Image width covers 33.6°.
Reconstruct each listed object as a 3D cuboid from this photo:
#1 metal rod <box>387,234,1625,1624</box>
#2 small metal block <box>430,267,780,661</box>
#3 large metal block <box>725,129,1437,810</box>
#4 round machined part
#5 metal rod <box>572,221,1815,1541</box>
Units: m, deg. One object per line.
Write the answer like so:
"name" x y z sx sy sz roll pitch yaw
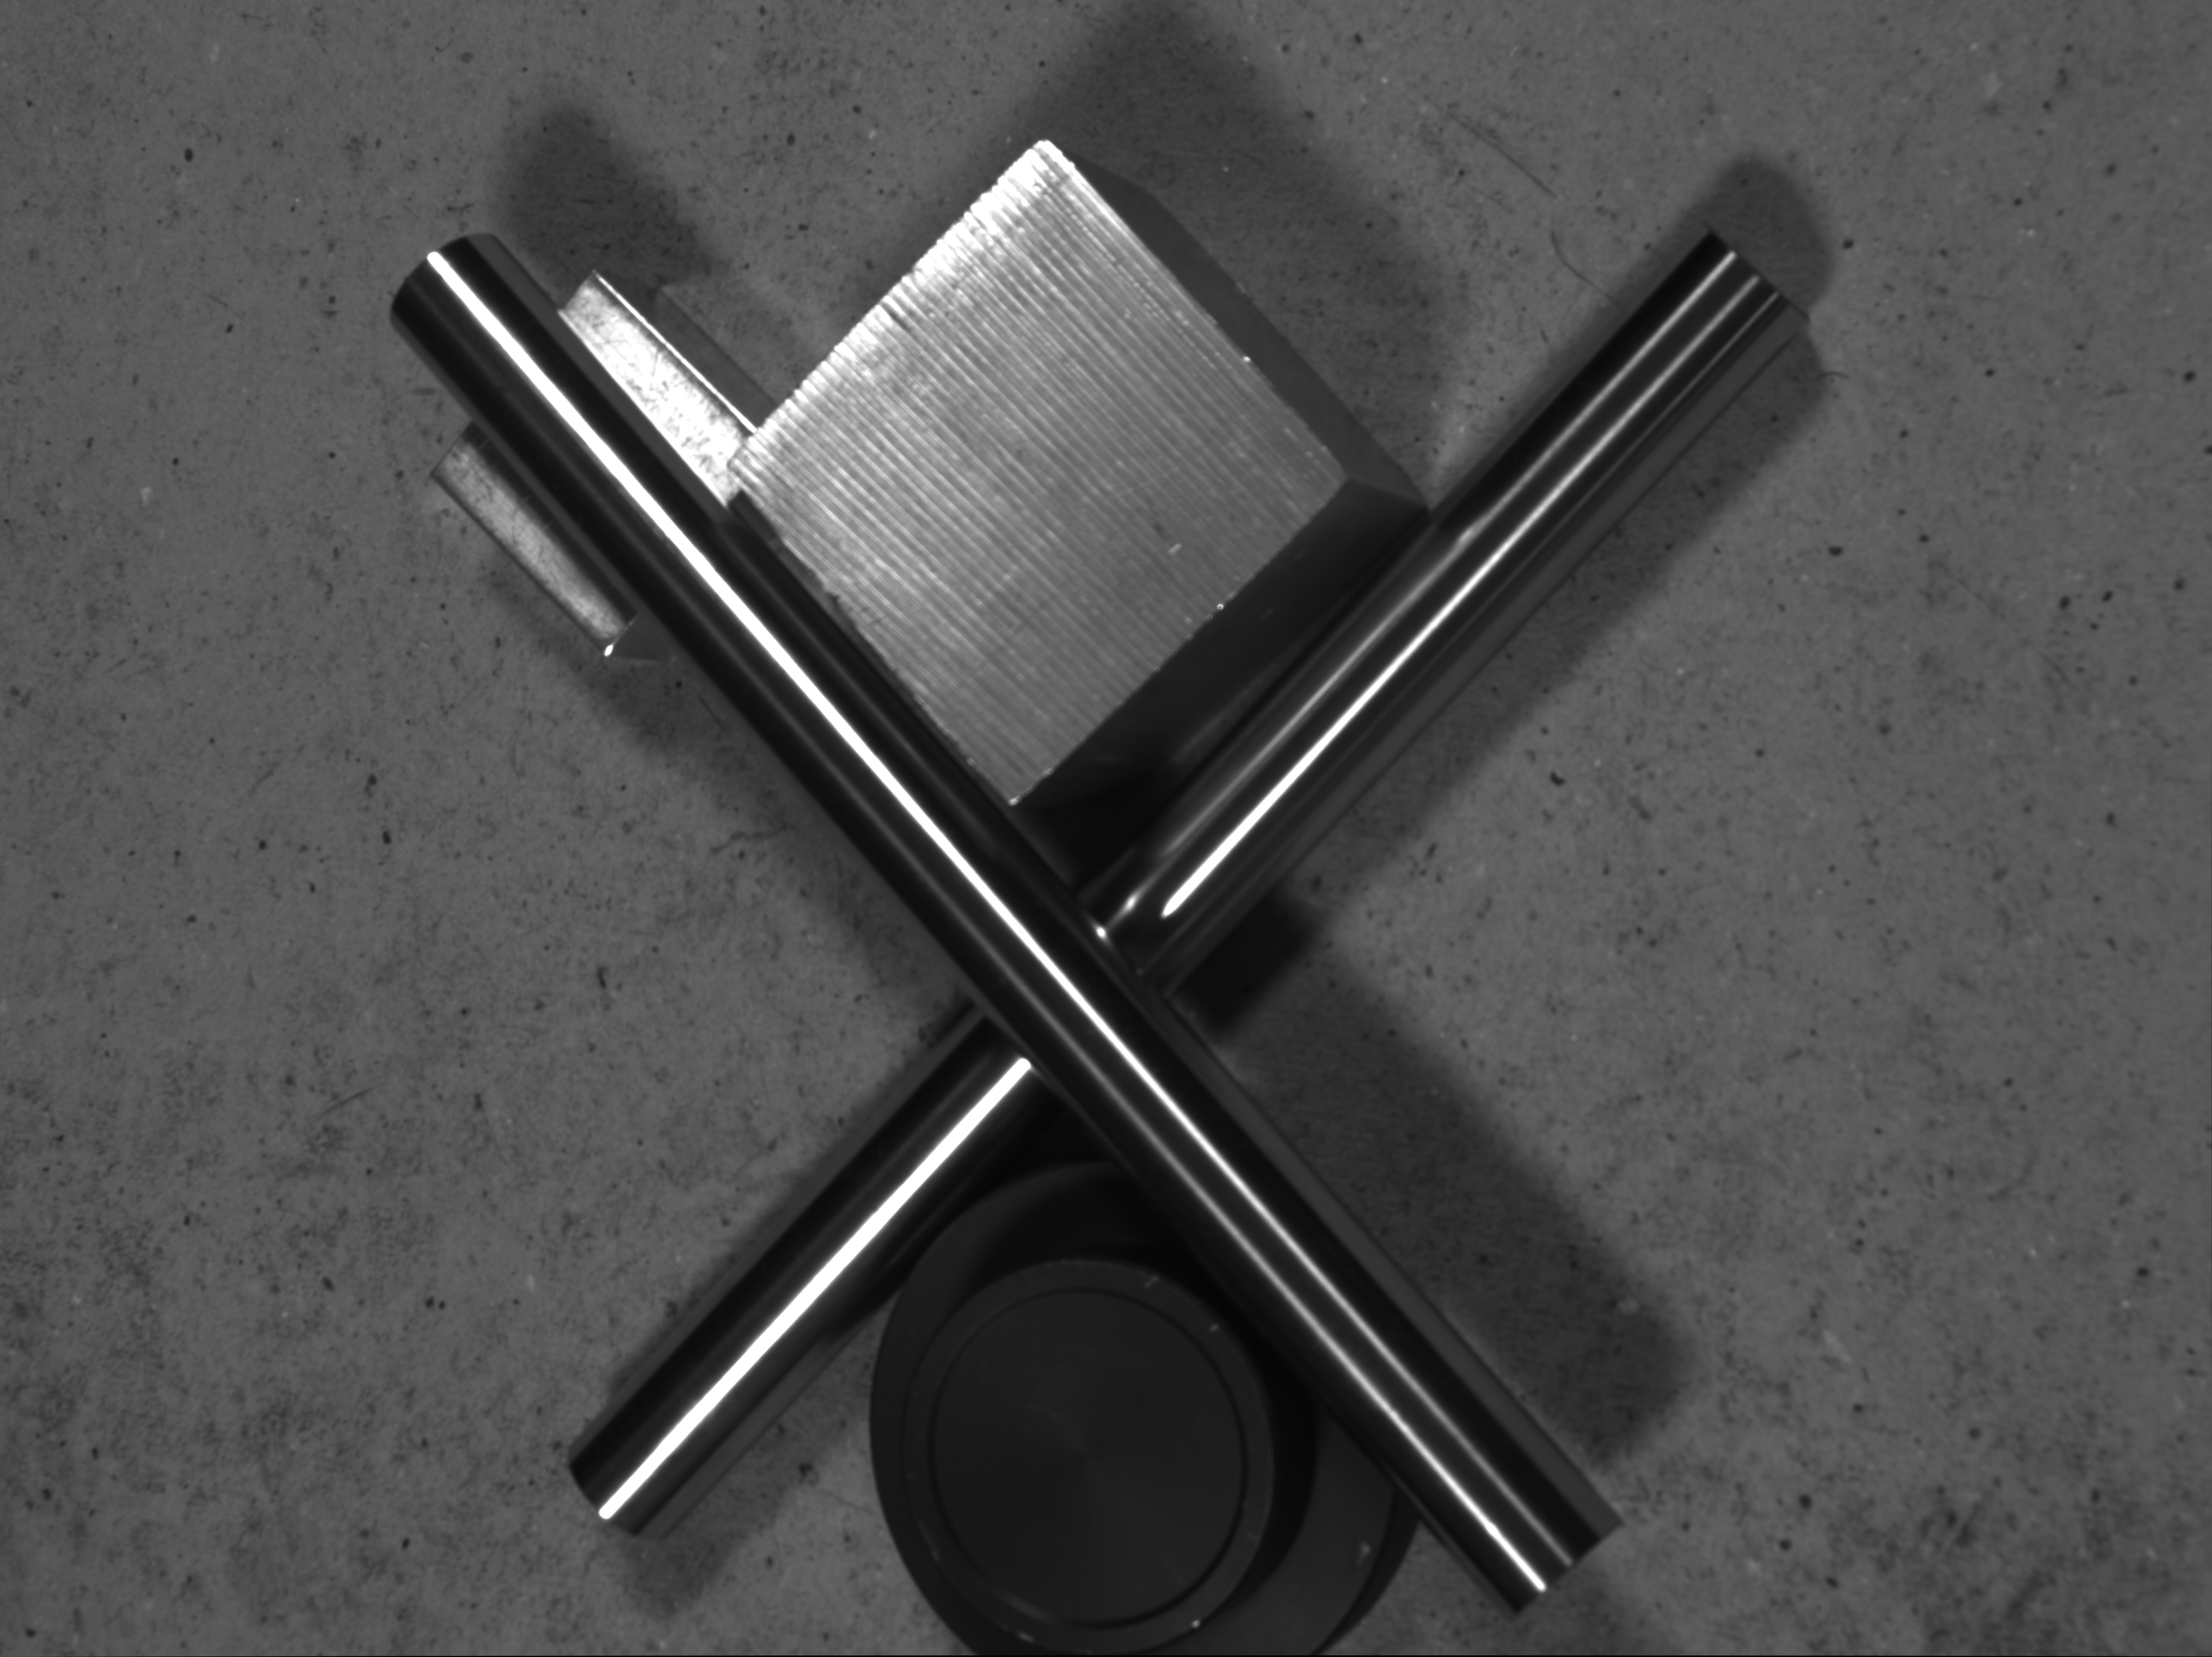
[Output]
"metal rod" -0.022 0.011 0.625 0.025 0.025 0.300 -45 76 14
"small metal block" -0.088 -0.067 0.677 0.050 0.025 0.050 45 104 14
"large metal block" -0.004 -0.060 0.634 0.080 0.050 0.080 -43 77 14
"round machined part" 0.004 0.106 0.633 0.098 0.042 0.098 0 90 20
"metal rod" 0.010 0.015 0.642 0.025 0.025 0.300 46 104 14
